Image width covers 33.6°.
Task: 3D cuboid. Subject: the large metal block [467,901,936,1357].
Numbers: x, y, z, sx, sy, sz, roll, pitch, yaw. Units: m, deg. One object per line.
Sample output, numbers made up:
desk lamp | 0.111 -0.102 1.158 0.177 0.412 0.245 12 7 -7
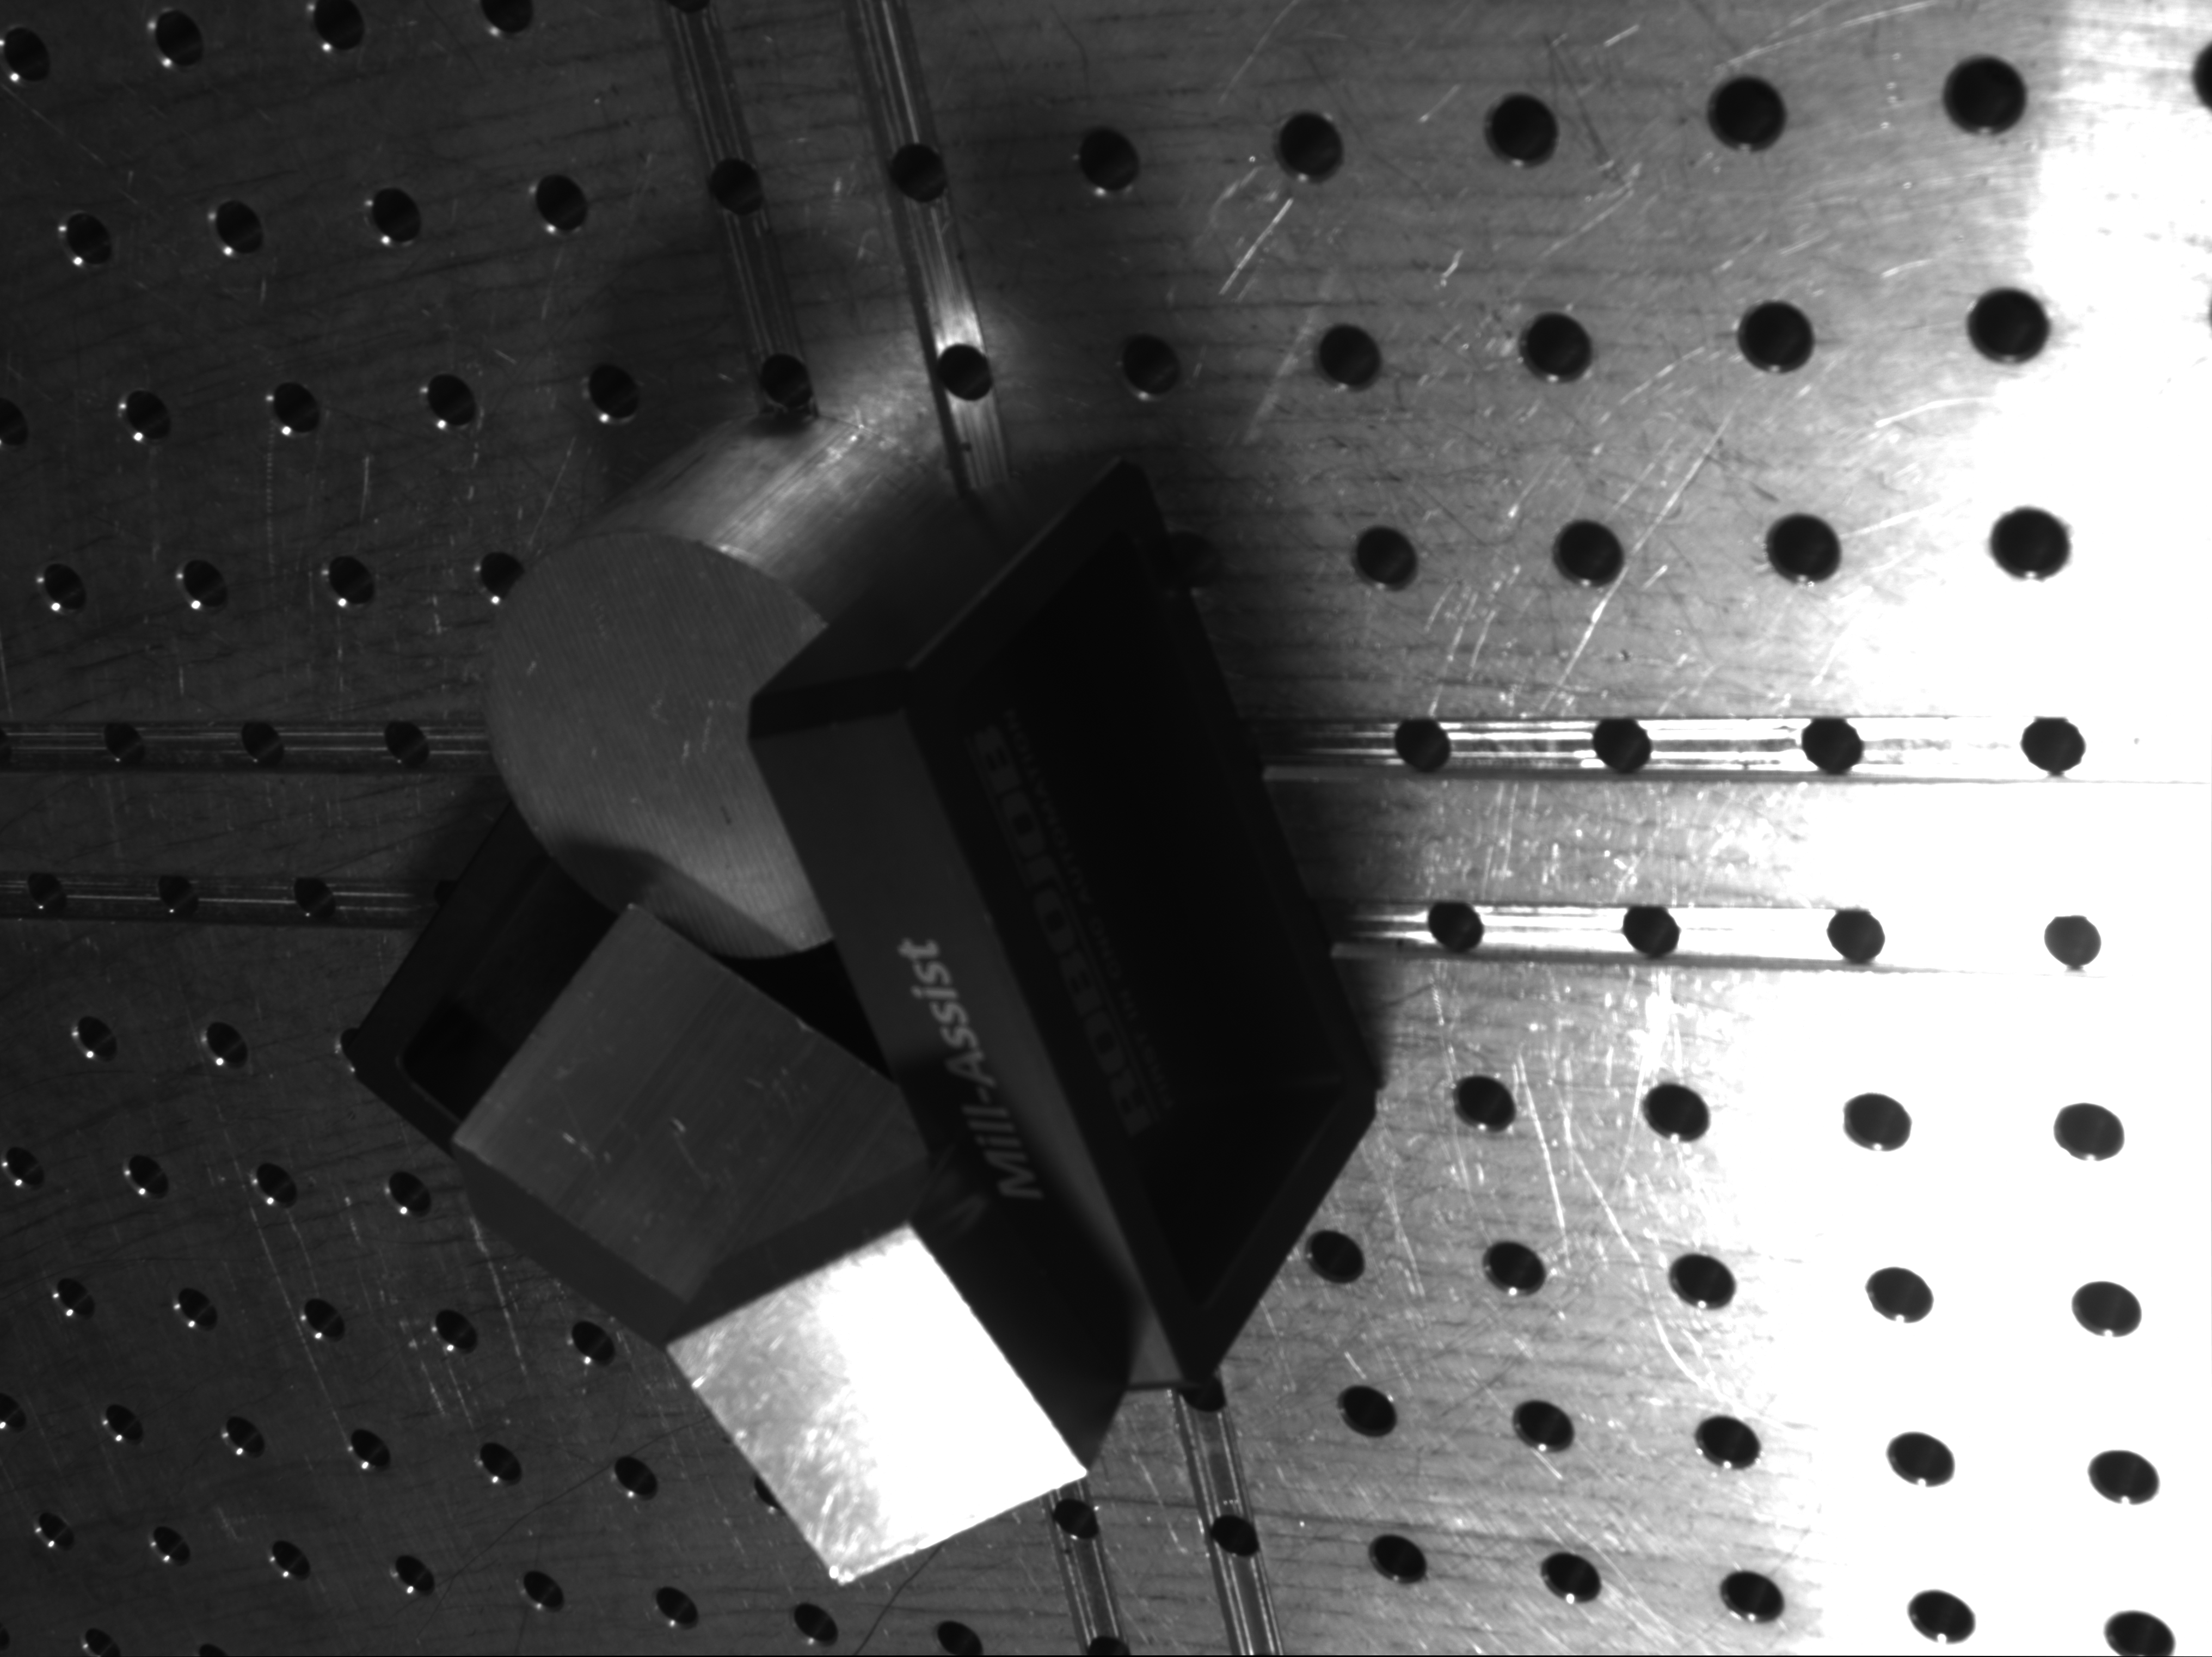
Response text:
large metal block | -0.063 0.065 0.649 0.080 0.050 0.080 34 163 4

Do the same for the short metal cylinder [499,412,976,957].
short metal cylinder | -0.057 -0.025 0.631 0.080 0.050 0.080 12 123 20

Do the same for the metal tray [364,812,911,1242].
metal tray | -0.068 0.054 0.696 0.130 0.030 0.090 40 128 0

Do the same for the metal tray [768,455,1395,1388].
metal tray | 0.000 0.016 0.602 0.030 0.090 0.130 -9 114 31

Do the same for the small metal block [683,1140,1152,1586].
small metal block | -0.030 0.085 0.580 0.050 0.025 0.050 -29 104 25
